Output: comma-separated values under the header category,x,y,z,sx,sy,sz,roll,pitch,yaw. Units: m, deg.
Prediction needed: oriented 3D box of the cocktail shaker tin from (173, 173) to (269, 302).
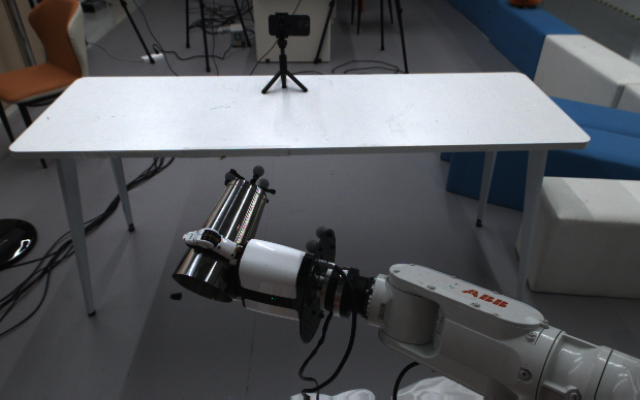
category,x,y,z,sx,sy,sz,roll,pitch,yaw
cocktail shaker tin,-0.142,0.054,0.720,0.093,0.093,0.170,13,59,15
